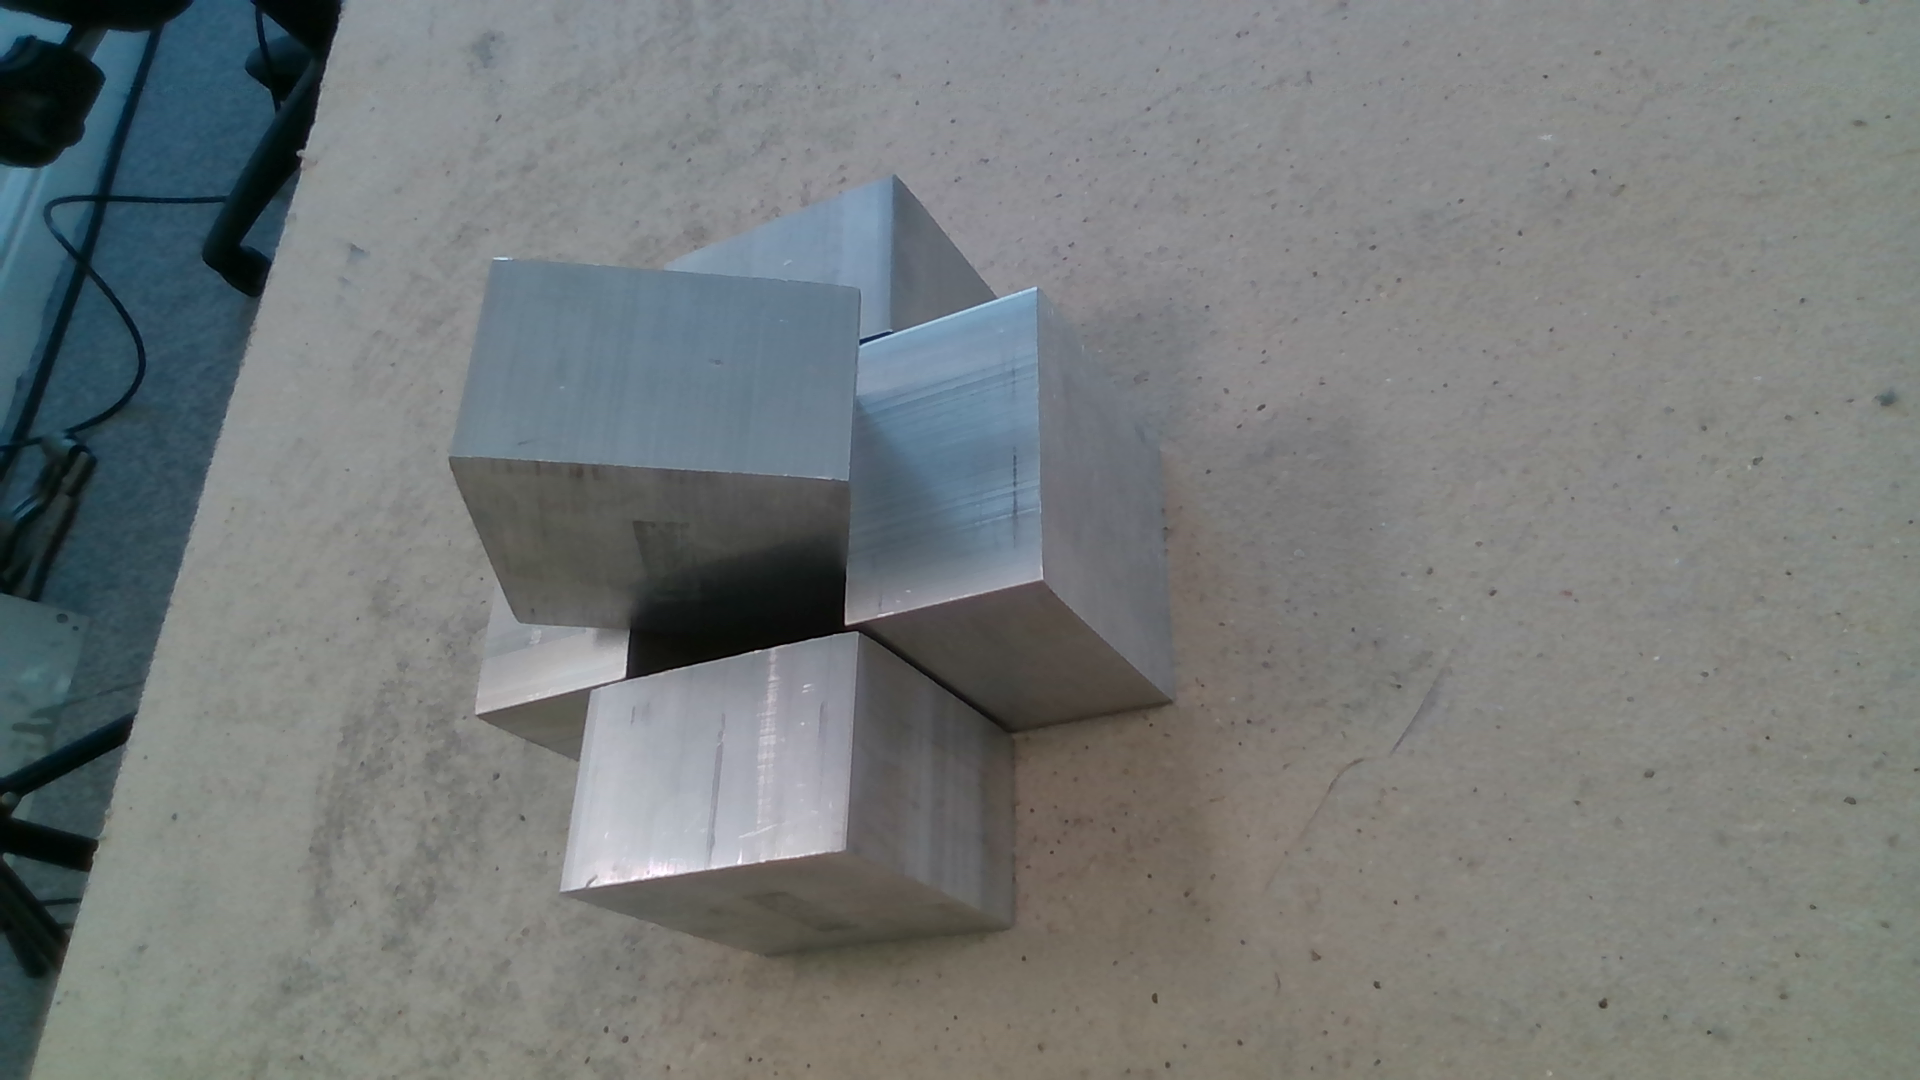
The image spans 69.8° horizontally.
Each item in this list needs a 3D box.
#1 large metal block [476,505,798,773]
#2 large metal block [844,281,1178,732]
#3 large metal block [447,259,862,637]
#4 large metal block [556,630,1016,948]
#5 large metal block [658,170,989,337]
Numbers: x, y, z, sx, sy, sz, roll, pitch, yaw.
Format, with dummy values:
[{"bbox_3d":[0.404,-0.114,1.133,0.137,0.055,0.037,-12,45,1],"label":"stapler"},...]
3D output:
[{"bbox_3d":[-0.086,0.022,0.399,0.050,0.080,0.080,-14,59,25],"label":"large metal block"},{"bbox_3d":[0.015,-0.004,0.351,0.050,0.080,0.080,-14,59,25],"label":"large metal block"},{"bbox_3d":[-0.066,-0.018,0.323,0.080,0.080,0.050,3,62,-5],"label":"large metal block"},{"bbox_3d":[-0.040,0.067,0.346,0.080,0.080,0.050,-13,59,25],"label":"large metal block"},{"bbox_3d":[-0.034,-0.051,0.404,0.080,0.080,0.050,-14,59,25],"label":"large metal block"}]
